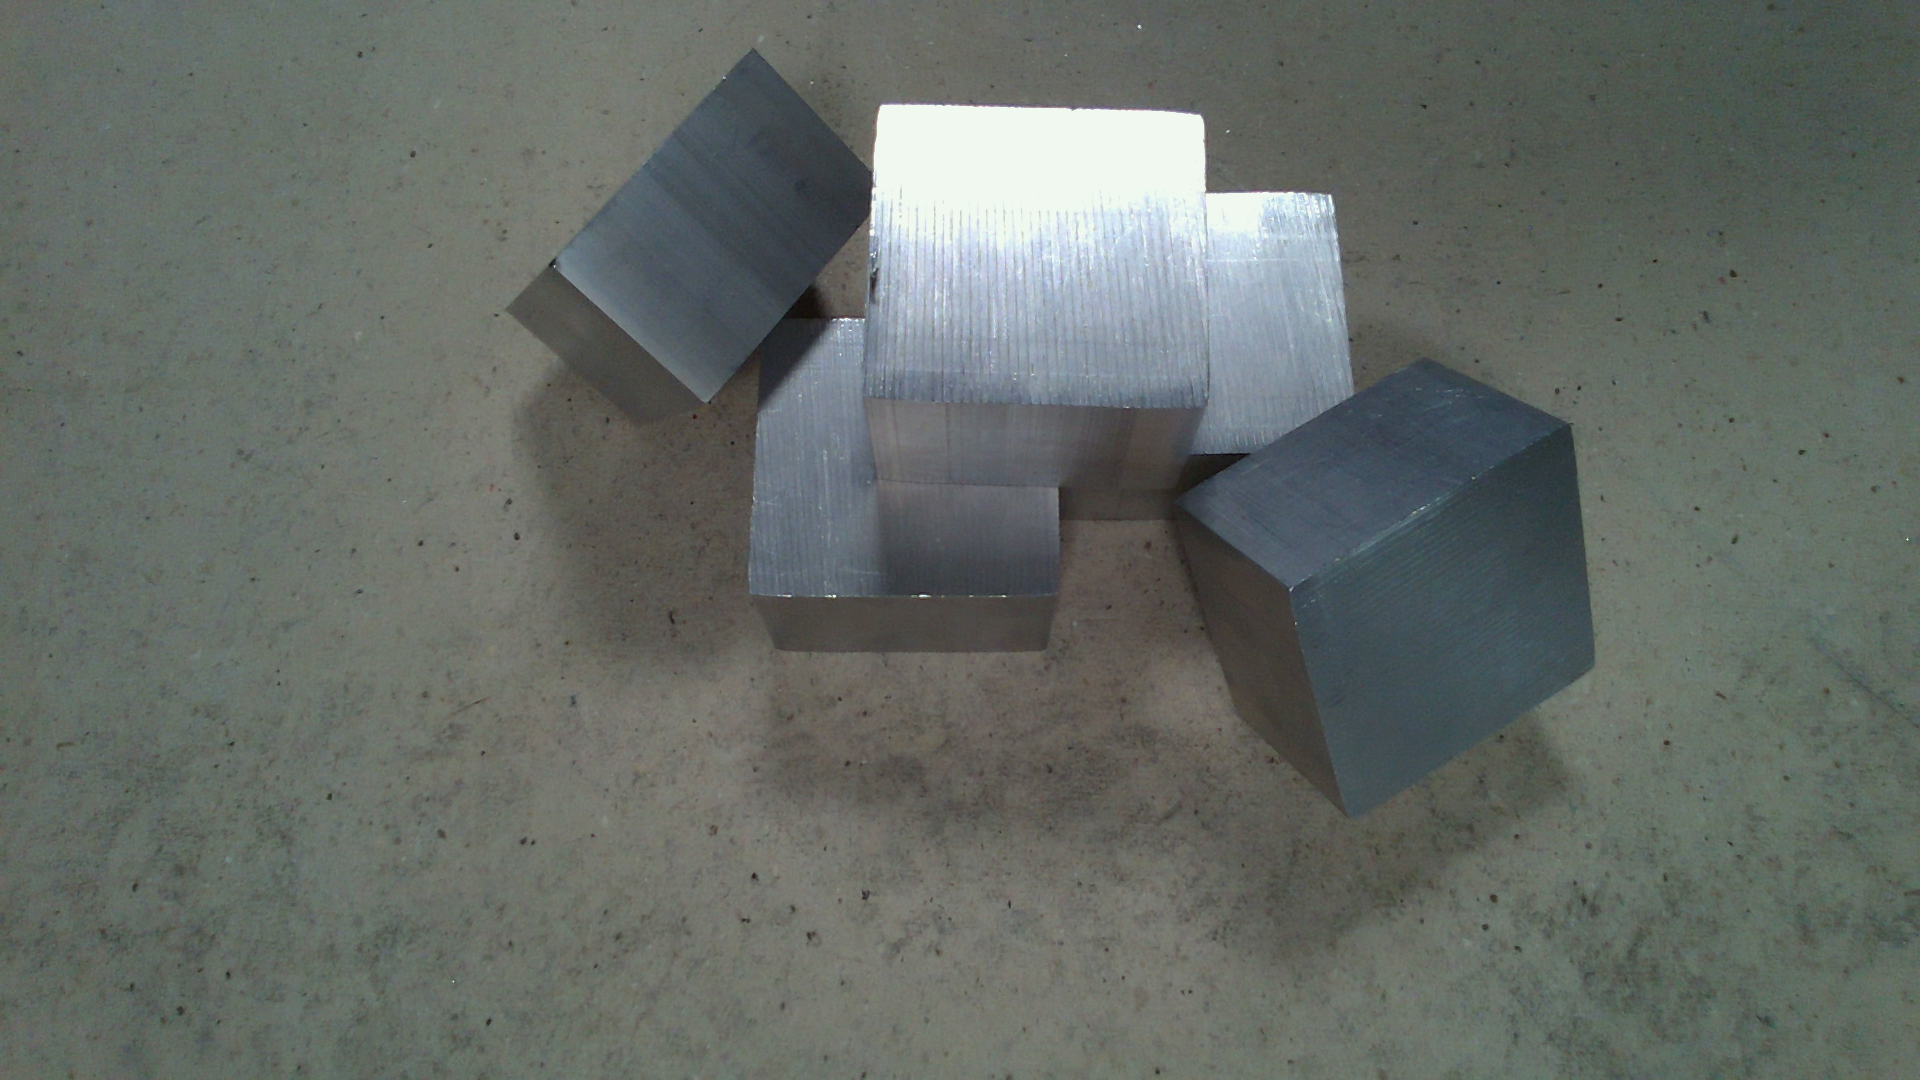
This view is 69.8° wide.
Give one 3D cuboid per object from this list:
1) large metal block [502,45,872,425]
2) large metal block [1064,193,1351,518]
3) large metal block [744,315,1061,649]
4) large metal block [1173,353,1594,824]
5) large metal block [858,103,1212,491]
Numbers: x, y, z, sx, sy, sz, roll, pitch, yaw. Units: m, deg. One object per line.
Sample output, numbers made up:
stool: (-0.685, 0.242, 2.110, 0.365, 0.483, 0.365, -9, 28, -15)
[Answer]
large metal block: (-0.077, -0.081, 0.388, 0.050, 0.080, 0.080, 43, 73, -20)
large metal block: (0.066, -0.053, 0.401, 0.080, 0.050, 0.080, 0, 70, 0)
large metal block: (-0.014, -0.015, 0.385, 0.080, 0.050, 0.080, 0, 70, 0)
large metal block: (0.111, 0.012, 0.354, 0.080, 0.080, 0.050, -30, 35, -10)
large metal block: (0.018, -0.060, 0.348, 0.080, 0.050, 0.080, 2, 70, 1)
